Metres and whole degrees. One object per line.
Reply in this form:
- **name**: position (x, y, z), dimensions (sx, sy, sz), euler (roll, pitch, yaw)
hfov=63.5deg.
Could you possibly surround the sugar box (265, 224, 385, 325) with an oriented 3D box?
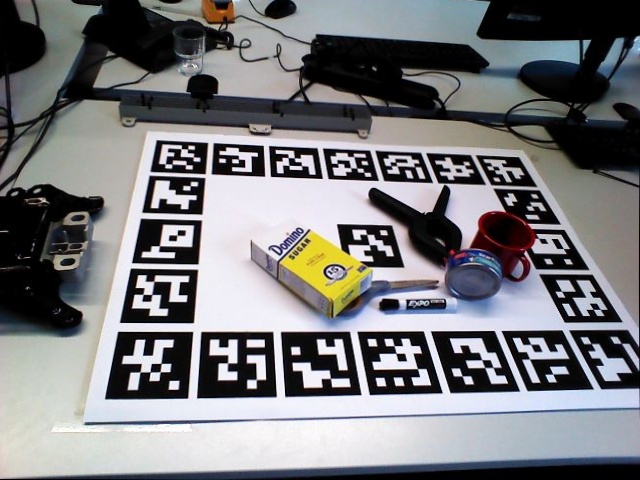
- **sugar box**: position (0.005, 0.044, 0.796), dimensions (0.092, 0.045, 0.177), euler (-29, 51, -33)

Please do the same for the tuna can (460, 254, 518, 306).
- **tuna can**: position (0.262, 0.063, 0.802), dimensions (0.086, 0.086, 0.033), euler (14, 45, 3)

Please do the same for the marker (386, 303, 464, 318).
- **marker**: position (0.159, 0.107, 0.787), dimensions (0.121, 0.020, 0.019), euler (-1, 47, -11)

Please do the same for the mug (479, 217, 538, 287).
- **mug**: position (0.315, 0.030, 0.851), dimensions (0.093, 0.082, 0.117), euler (-20, 49, -27)

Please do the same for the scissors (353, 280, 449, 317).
- **scissors**: position (0.111, 0.075, 0.807), dimensions (0.202, 0.016, 0.087), euler (-5, 43, -17)

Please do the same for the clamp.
- **clamp**: position (0.214, -0.017, 0.921), dimensions (0.165, 0.037, 0.202), euler (-6, 48, -16)
